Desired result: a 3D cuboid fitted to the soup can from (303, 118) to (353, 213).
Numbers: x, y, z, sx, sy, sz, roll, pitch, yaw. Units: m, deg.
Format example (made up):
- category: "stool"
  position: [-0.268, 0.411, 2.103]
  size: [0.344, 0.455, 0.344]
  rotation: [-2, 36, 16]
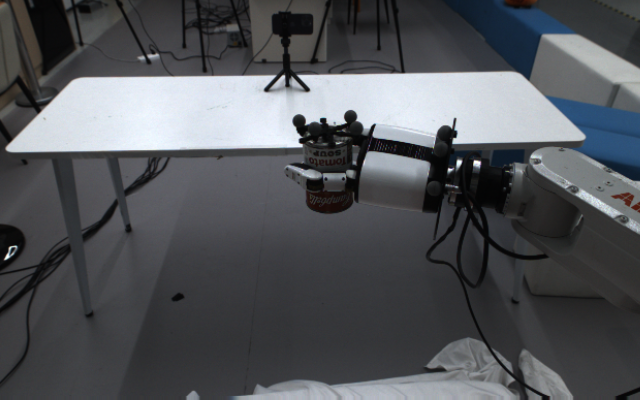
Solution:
- category: "soup can"
  position: [0.013, -0.042, 0.658]
  size: [0.067, 0.101, 0.067]
  rotation: [-2, 33, 1]
